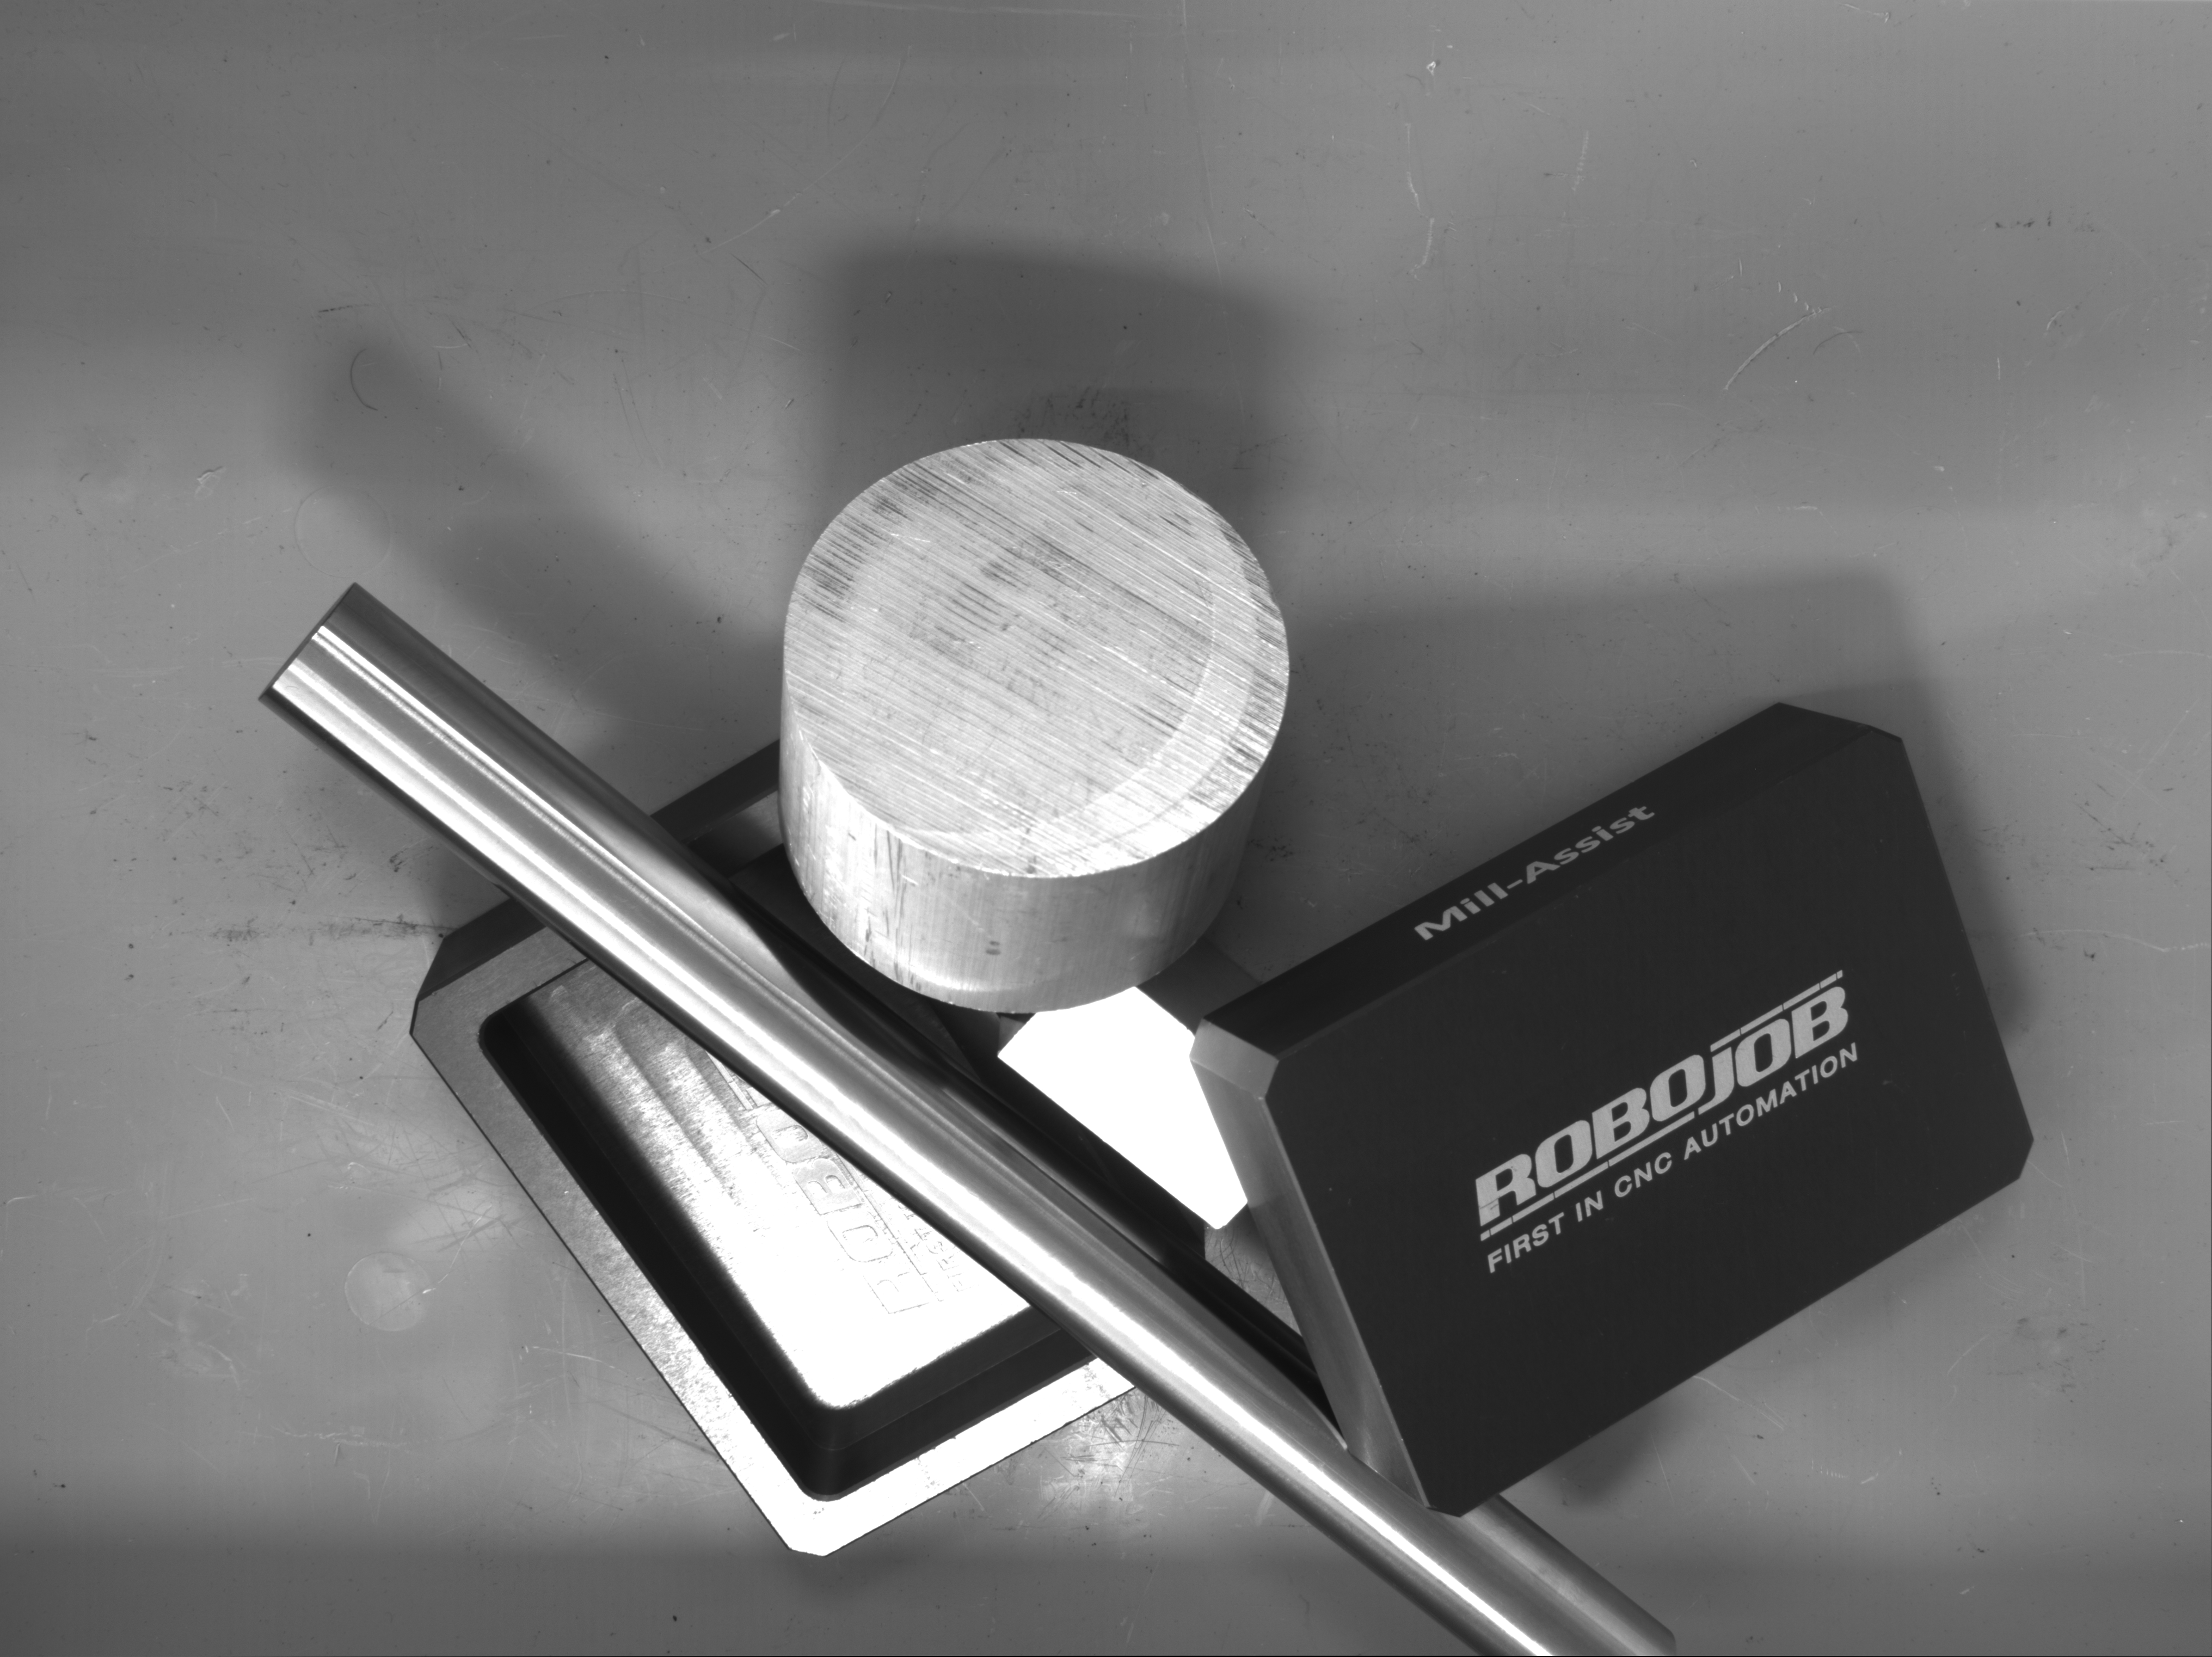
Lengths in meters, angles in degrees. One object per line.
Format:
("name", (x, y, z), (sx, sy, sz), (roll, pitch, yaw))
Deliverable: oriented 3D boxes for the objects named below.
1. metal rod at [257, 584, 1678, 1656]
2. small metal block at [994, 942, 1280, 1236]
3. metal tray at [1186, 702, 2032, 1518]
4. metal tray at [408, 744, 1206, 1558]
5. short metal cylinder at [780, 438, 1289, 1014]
("metal rod", (-0.018, 0.063, 0.634), (0.300, 0.025, 0.025), (39, 105, -13))
("small metal block", (0.008, 0.037, 0.642), (0.050, 0.050, 0.025), (39, 106, -13))
("metal tray", (0.088, 0.047, 0.630), (0.130, 0.030, 0.090), (-28, 109, -16))
("metal tray", (-0.051, 0.057, 0.660), (0.090, 0.030, 0.130), (-30, 107, 10))
("short metal cylinder", (-0.013, -0.016, 0.601), (0.080, 0.080, 0.050), (8, 152, -3))
